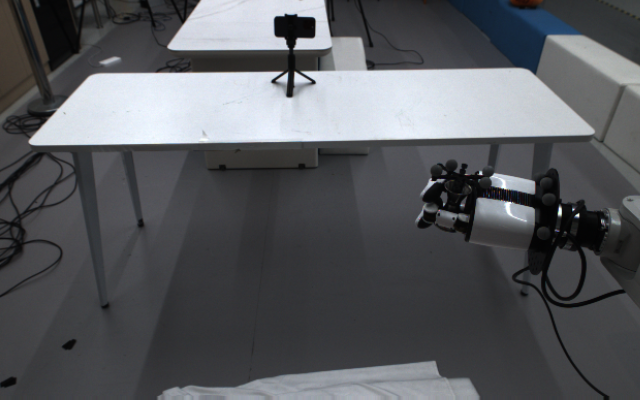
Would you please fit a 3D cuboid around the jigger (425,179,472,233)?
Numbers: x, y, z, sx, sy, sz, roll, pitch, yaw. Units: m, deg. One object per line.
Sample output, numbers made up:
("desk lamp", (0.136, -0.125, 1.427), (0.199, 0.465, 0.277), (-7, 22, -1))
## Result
("jigger", (0.206, 0.007, 0.741), (0.043, 0.071, 0.043), (4, 31, -2))
